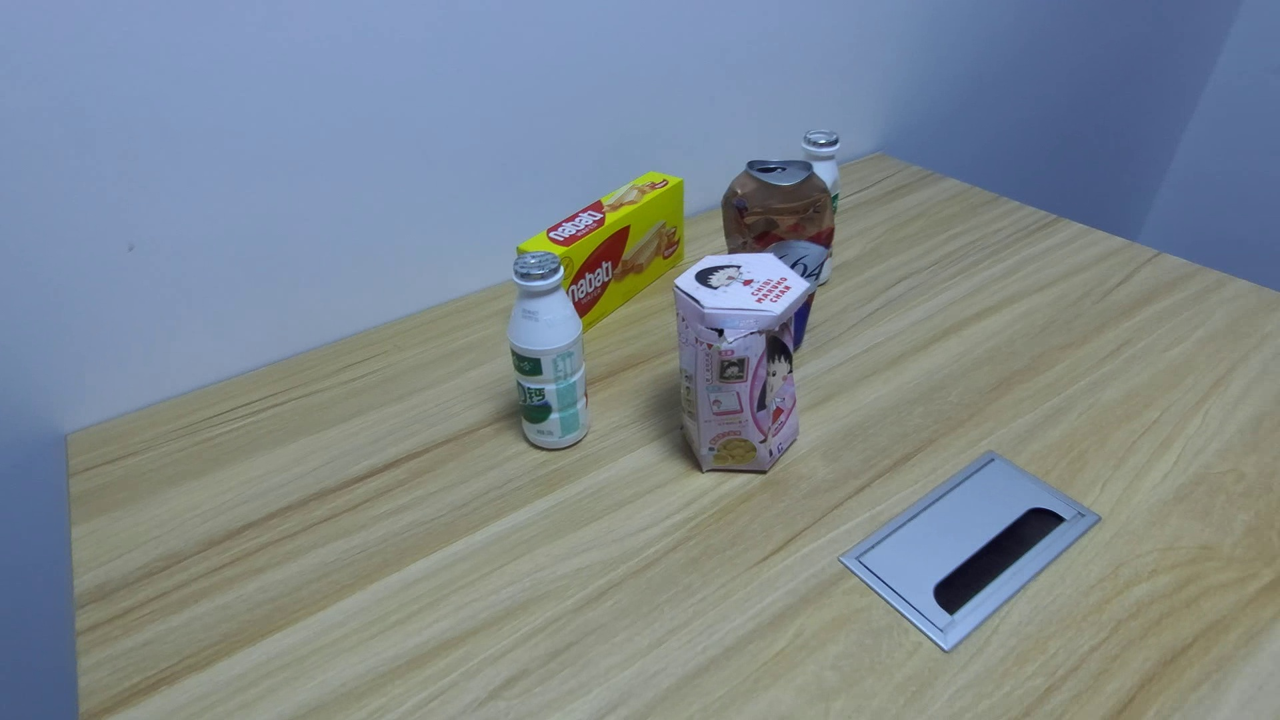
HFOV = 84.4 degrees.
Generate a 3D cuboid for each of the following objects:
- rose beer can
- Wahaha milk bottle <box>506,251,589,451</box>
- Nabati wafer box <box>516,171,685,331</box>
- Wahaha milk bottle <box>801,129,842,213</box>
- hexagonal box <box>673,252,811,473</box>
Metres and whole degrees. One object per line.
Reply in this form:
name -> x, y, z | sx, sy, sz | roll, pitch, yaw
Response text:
rose beer can -> 0.109, -0.082, 0.584 | 0.074, 0.162, 0.067 | -23, 41, -28
Wahaha milk bottle -> -0.066, -0.004, 0.505 | 0.053, 0.147, 0.053 | -2, 35, 2
Nabati wafer box -> -0.027, -0.102, 0.680 | 0.042, 0.093, 0.203 | 23, 43, 30
Wahaha milk bottle -> 0.166, -0.143, 0.679 | 0.056, 0.148, 0.056 | 0, 36, 1
hexagonal box -> 0.067, 0.004, 0.496 | 0.091, 0.135, 0.090 | -10, 34, -9
